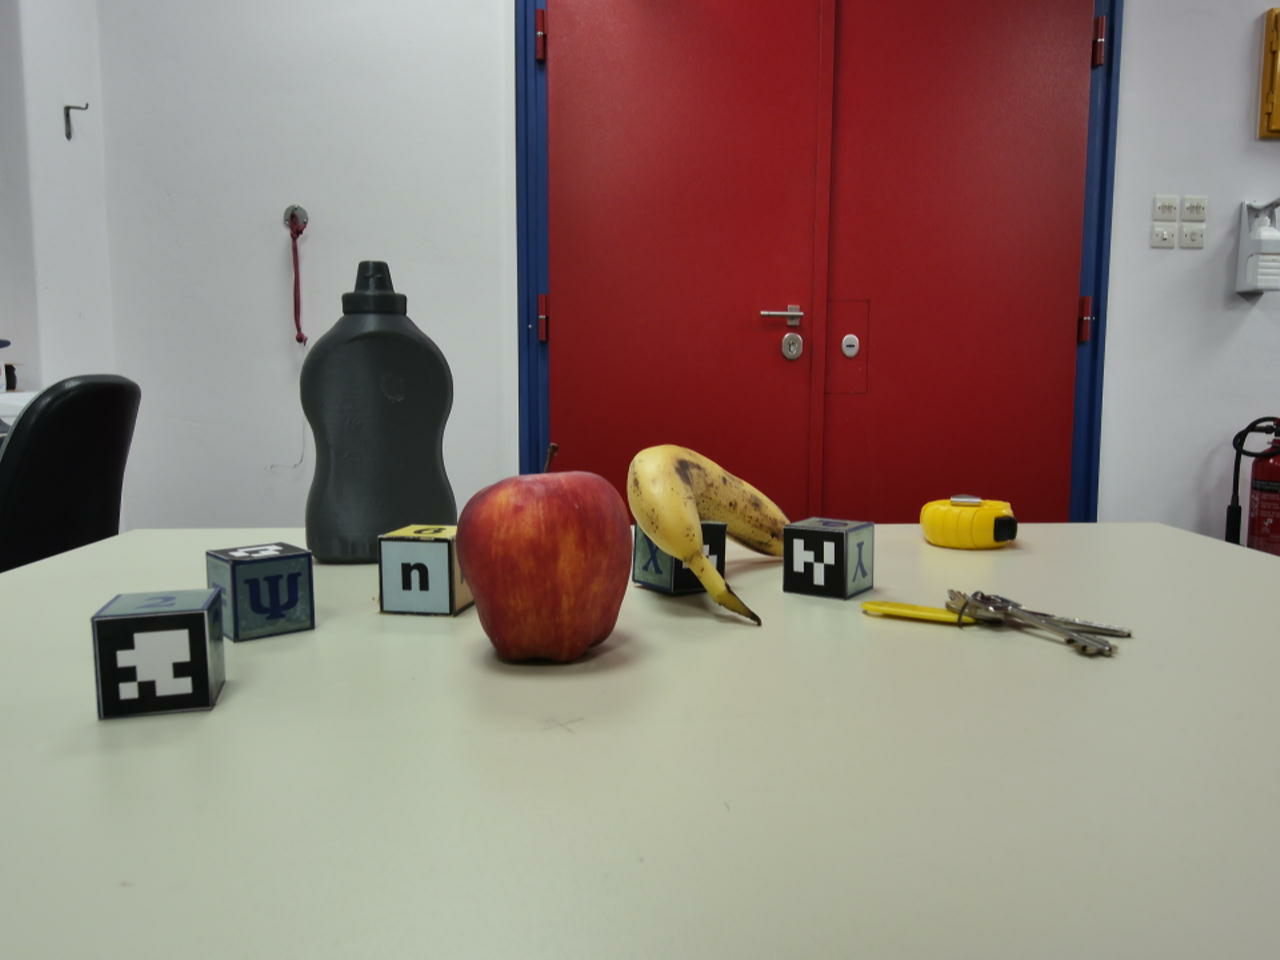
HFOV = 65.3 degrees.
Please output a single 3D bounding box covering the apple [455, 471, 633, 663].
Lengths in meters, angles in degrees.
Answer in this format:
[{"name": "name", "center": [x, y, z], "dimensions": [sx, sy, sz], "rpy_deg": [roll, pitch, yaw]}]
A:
[{"name": "apple", "center": [-0.042, 0.031, 0.433], "dimensions": [0.083, 0.090, 0.083], "rpy_deg": [0, 4, 0]}]
